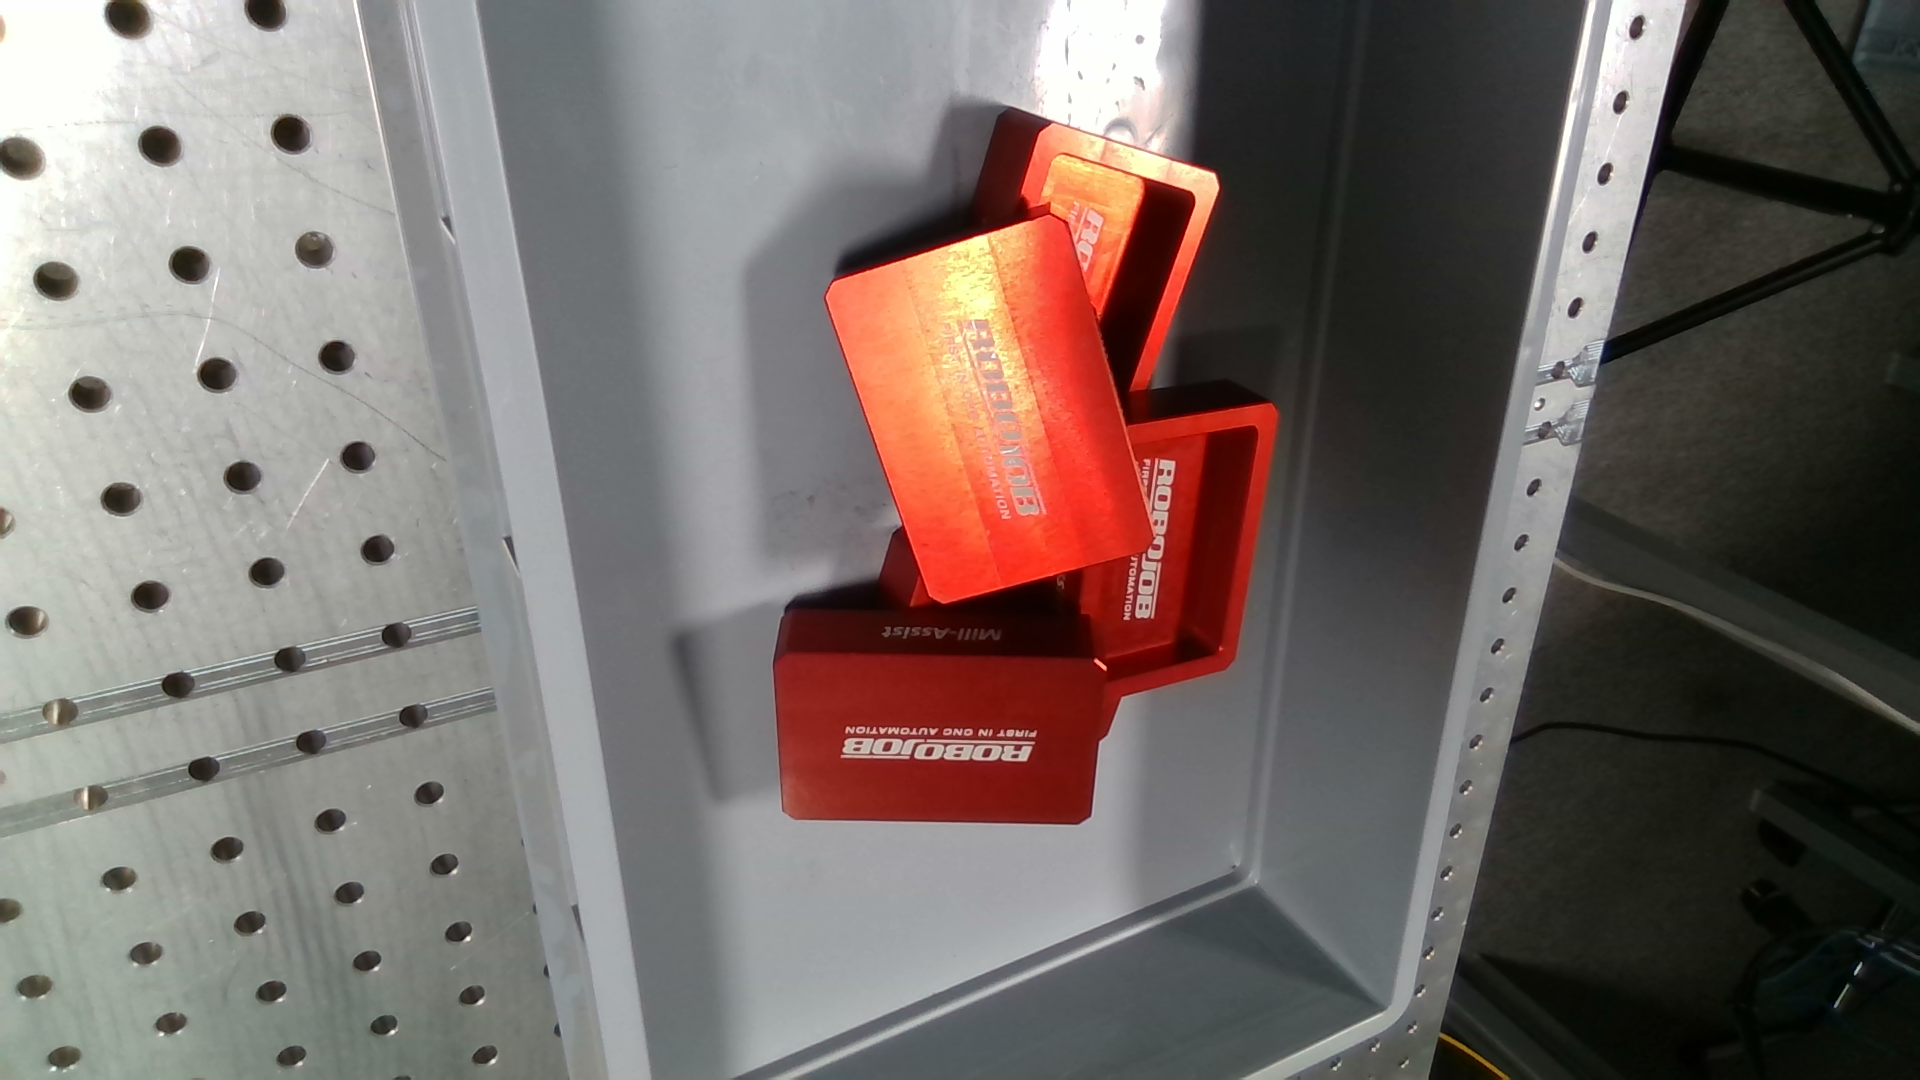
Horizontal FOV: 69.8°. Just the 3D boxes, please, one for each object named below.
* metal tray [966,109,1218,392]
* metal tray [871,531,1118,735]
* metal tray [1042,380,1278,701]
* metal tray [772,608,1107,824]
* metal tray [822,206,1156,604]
[{"bbox_3d":[0.040,-0.094,0.548,0.090,0.030,0.130,6,112,-34],"label":"metal tray"},{"bbox_3d":[0.020,0.044,0.612,0.130,0.030,0.090,5,112,-33],"label":"metal tray"},{"bbox_3d":[0.082,0.001,0.588,0.090,0.030,0.130,-11,120,-27],"label":"metal tray"},{"bbox_3d":[-0.009,0.074,0.569,0.130,0.030,0.090,1,124,-1],"label":"metal tray"},{"bbox_3d":[0.013,-0.049,0.513,0.090,0.030,0.130,-15,109,10],"label":"metal tray"}]
